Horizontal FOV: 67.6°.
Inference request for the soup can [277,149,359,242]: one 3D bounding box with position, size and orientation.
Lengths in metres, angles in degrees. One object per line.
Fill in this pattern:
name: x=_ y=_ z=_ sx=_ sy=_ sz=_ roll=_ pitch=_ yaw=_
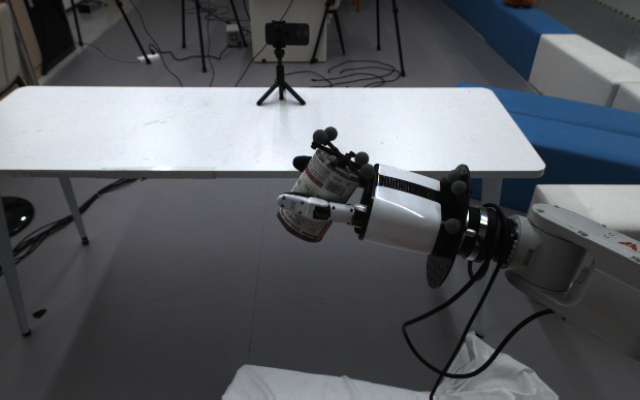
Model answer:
soup can: x=0.001 y=-0.006 z=0.605 sx=0.067 sy=0.101 sz=0.067 roll=29 pitch=21 yaw=-12
